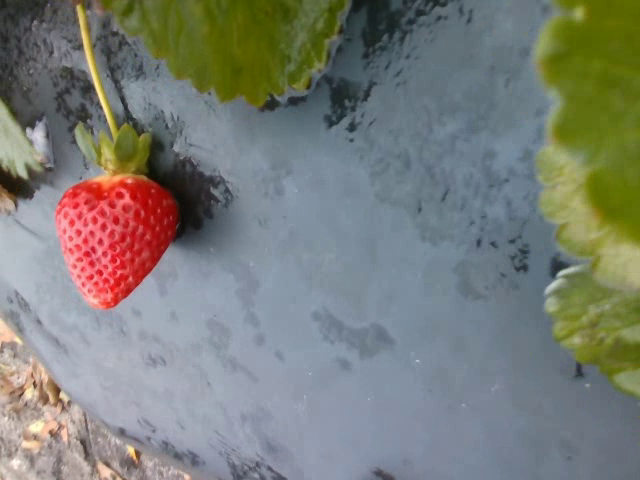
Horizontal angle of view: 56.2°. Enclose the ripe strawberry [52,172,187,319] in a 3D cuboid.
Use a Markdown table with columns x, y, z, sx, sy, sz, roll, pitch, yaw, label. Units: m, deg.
| x | y | z | sx | sy | sz | roll | pitch | yaw | label |
| --- | --- | --- | --- | --- | --- | --- | --- | --- | --- |
| -0.076 | 0.000 | 0.218 | 0.048 | 0.053 | 0.045 | 8 | -5 | -35 | ripe strawberry |
